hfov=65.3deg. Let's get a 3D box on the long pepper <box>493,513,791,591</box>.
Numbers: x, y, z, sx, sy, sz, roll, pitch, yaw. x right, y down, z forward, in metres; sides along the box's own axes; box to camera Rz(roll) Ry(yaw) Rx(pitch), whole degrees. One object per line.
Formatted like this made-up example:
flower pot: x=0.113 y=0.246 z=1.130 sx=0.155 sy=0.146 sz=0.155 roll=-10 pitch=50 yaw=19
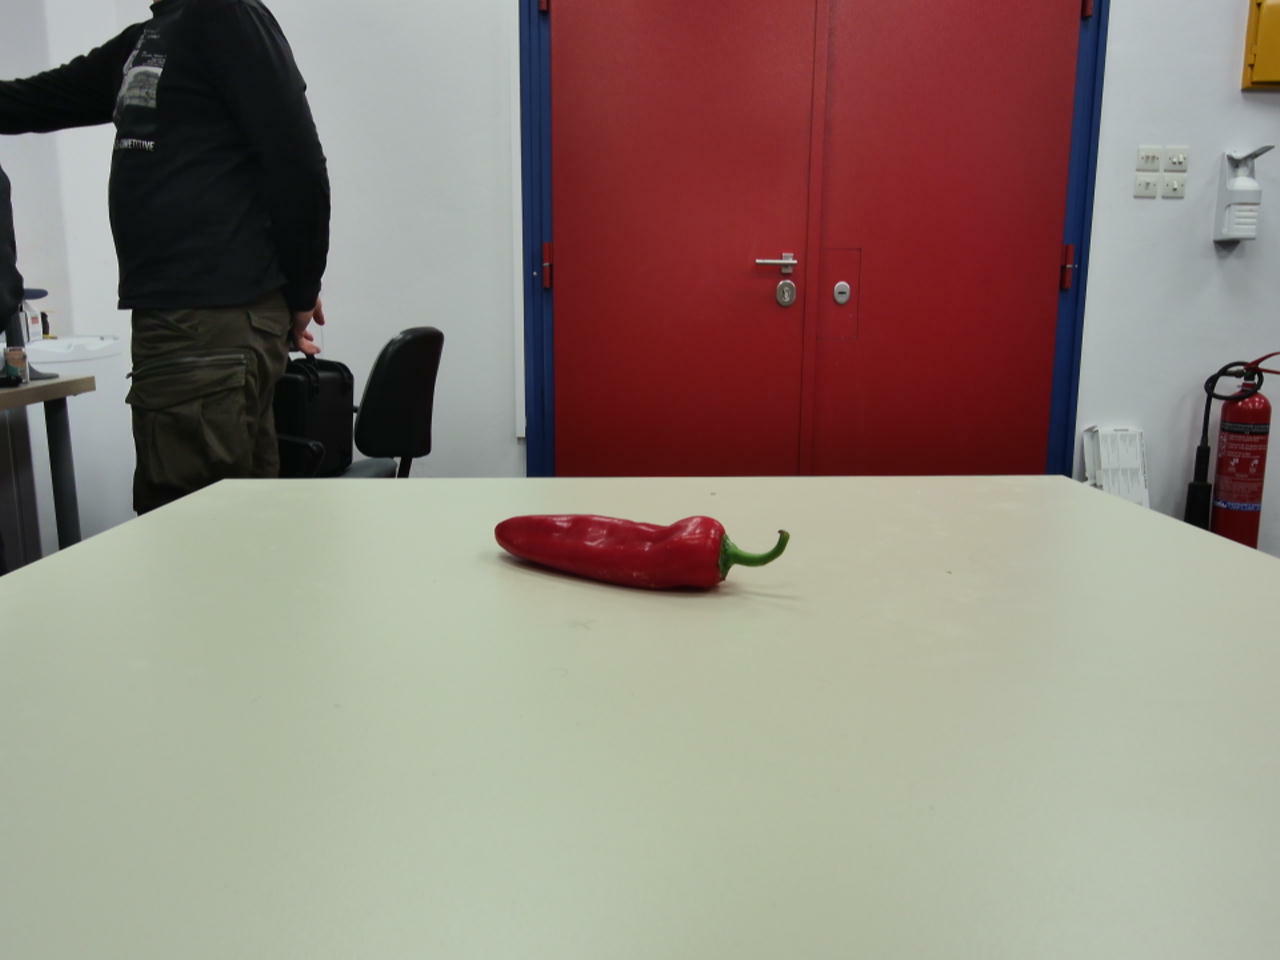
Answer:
long pepper: x=-0.010 y=0.040 z=0.613 sx=0.211 sy=0.043 sz=0.050 roll=4 pitch=9 yaw=31
